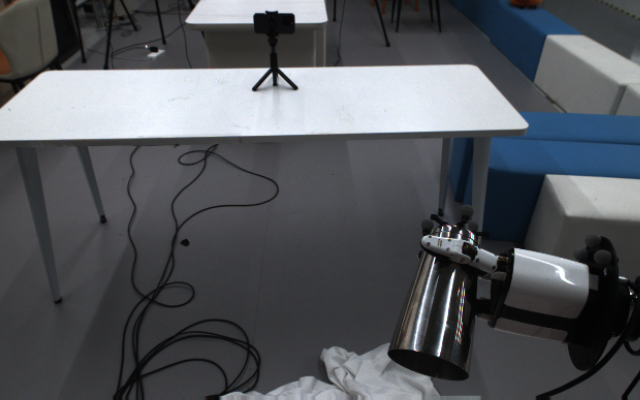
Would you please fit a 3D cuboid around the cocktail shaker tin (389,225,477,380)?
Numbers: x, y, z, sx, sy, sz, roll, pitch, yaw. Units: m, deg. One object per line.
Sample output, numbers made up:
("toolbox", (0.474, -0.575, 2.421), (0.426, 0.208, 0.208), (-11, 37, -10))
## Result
("cocktail shaker tin", (0.148, 0.115, 0.591), (0.093, 0.093, 0.170), (14, 59, 16))
